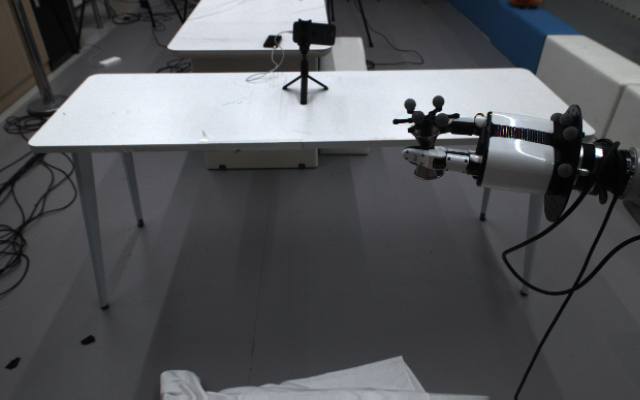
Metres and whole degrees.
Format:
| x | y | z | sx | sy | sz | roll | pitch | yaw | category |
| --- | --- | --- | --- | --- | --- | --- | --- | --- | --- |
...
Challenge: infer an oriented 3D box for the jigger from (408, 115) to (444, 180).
| x | y | z | sx | sy | sz | roll | pitch | yaw | category |
| --- | --- | --- | --- | --- | --- | --- | --- | --- | --- |
| 0.155 | -0.071 | 0.699 | 0.043 | 0.071 | 0.043 | -9 | 31 | 5 | jigger |
